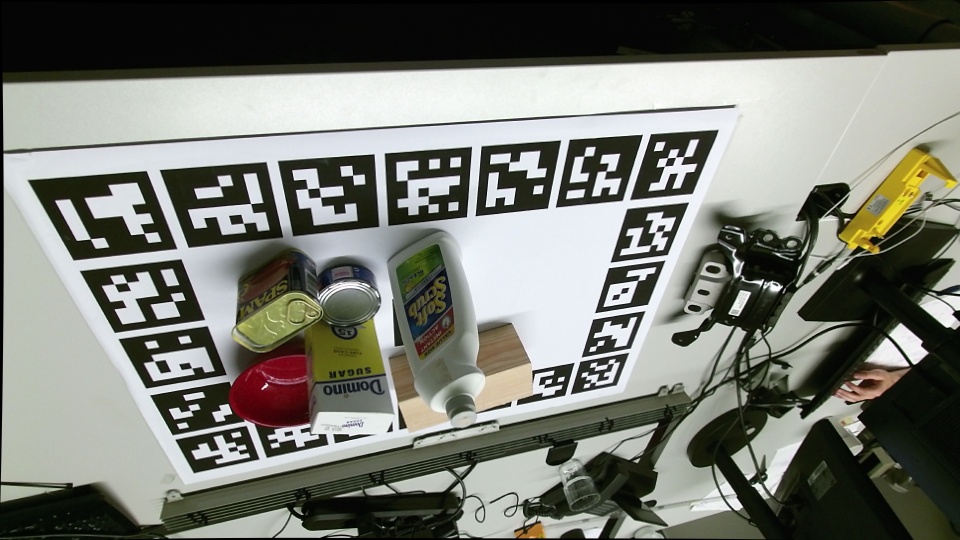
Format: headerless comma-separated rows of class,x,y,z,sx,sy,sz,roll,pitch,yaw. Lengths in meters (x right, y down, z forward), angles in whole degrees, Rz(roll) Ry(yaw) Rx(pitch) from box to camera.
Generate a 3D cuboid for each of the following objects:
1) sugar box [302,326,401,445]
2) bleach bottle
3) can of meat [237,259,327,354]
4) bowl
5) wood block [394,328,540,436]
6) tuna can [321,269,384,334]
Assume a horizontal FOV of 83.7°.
sugar box,-0.170,0.136,0.684,0.093,0.175,0.045,7,124,-31
bleach bottle,-0.037,0.074,0.636,0.103,0.249,0.068,-28,135,2
can of meat,-0.240,0.045,0.649,0.102,0.083,0.058,-30,137,7
bowl,-0.269,0.171,0.761,0.162,0.055,0.162,-14,134,-15
wood block,-0.019,0.177,0.847,0.207,0.089,0.091,-15,129,-8
tuna can,-0.165,0.041,0.701,0.086,0.033,0.086,-11,129,-14
